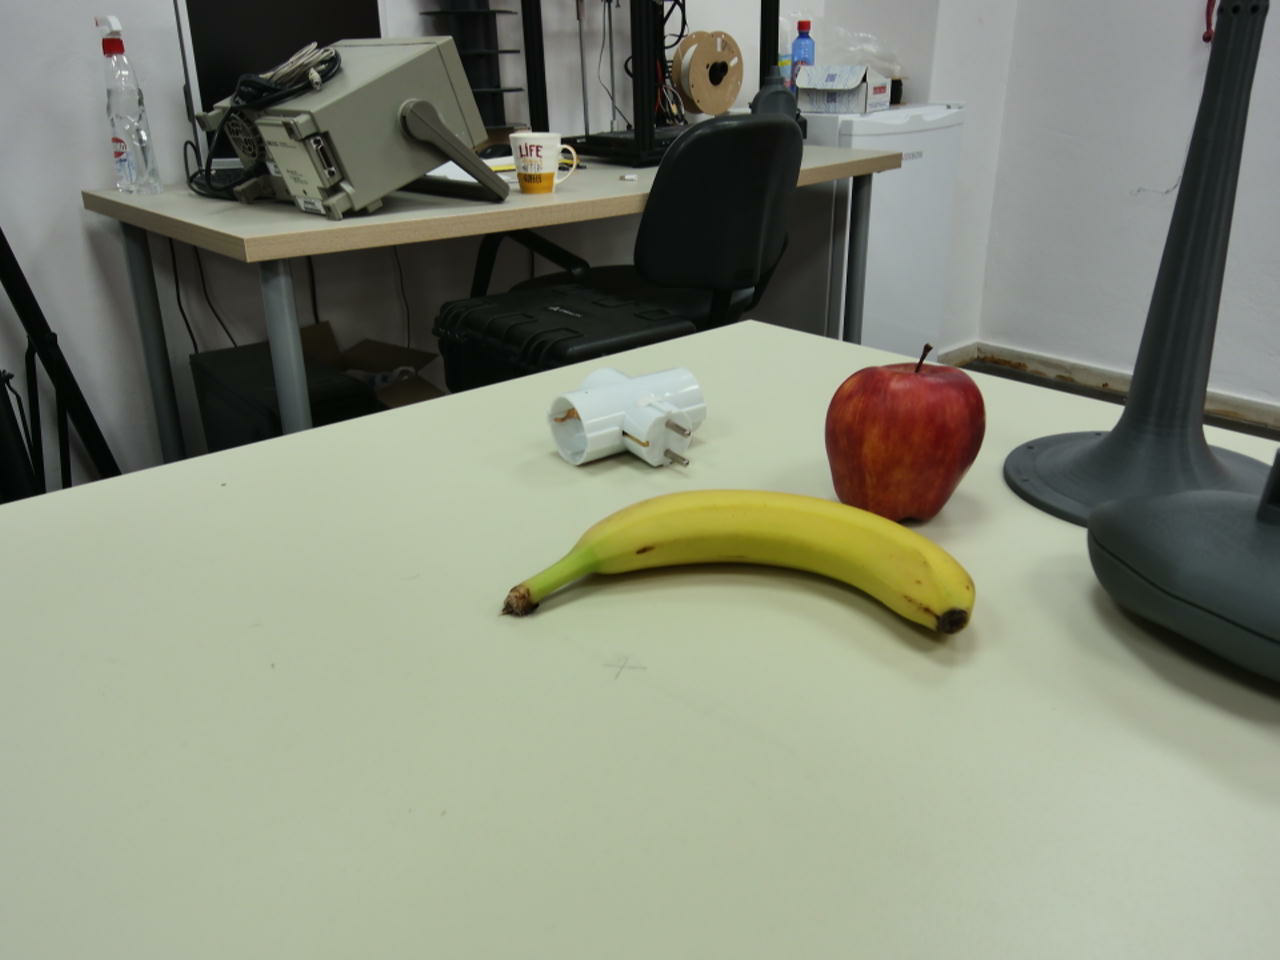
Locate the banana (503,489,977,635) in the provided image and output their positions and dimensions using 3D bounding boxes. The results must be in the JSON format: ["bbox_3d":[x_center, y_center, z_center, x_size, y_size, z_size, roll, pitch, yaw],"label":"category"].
[{"bbox_3d":[0.044,0.034,0.454,0.196,0.041,0.094,5,22,14],"label":"banana"}]
